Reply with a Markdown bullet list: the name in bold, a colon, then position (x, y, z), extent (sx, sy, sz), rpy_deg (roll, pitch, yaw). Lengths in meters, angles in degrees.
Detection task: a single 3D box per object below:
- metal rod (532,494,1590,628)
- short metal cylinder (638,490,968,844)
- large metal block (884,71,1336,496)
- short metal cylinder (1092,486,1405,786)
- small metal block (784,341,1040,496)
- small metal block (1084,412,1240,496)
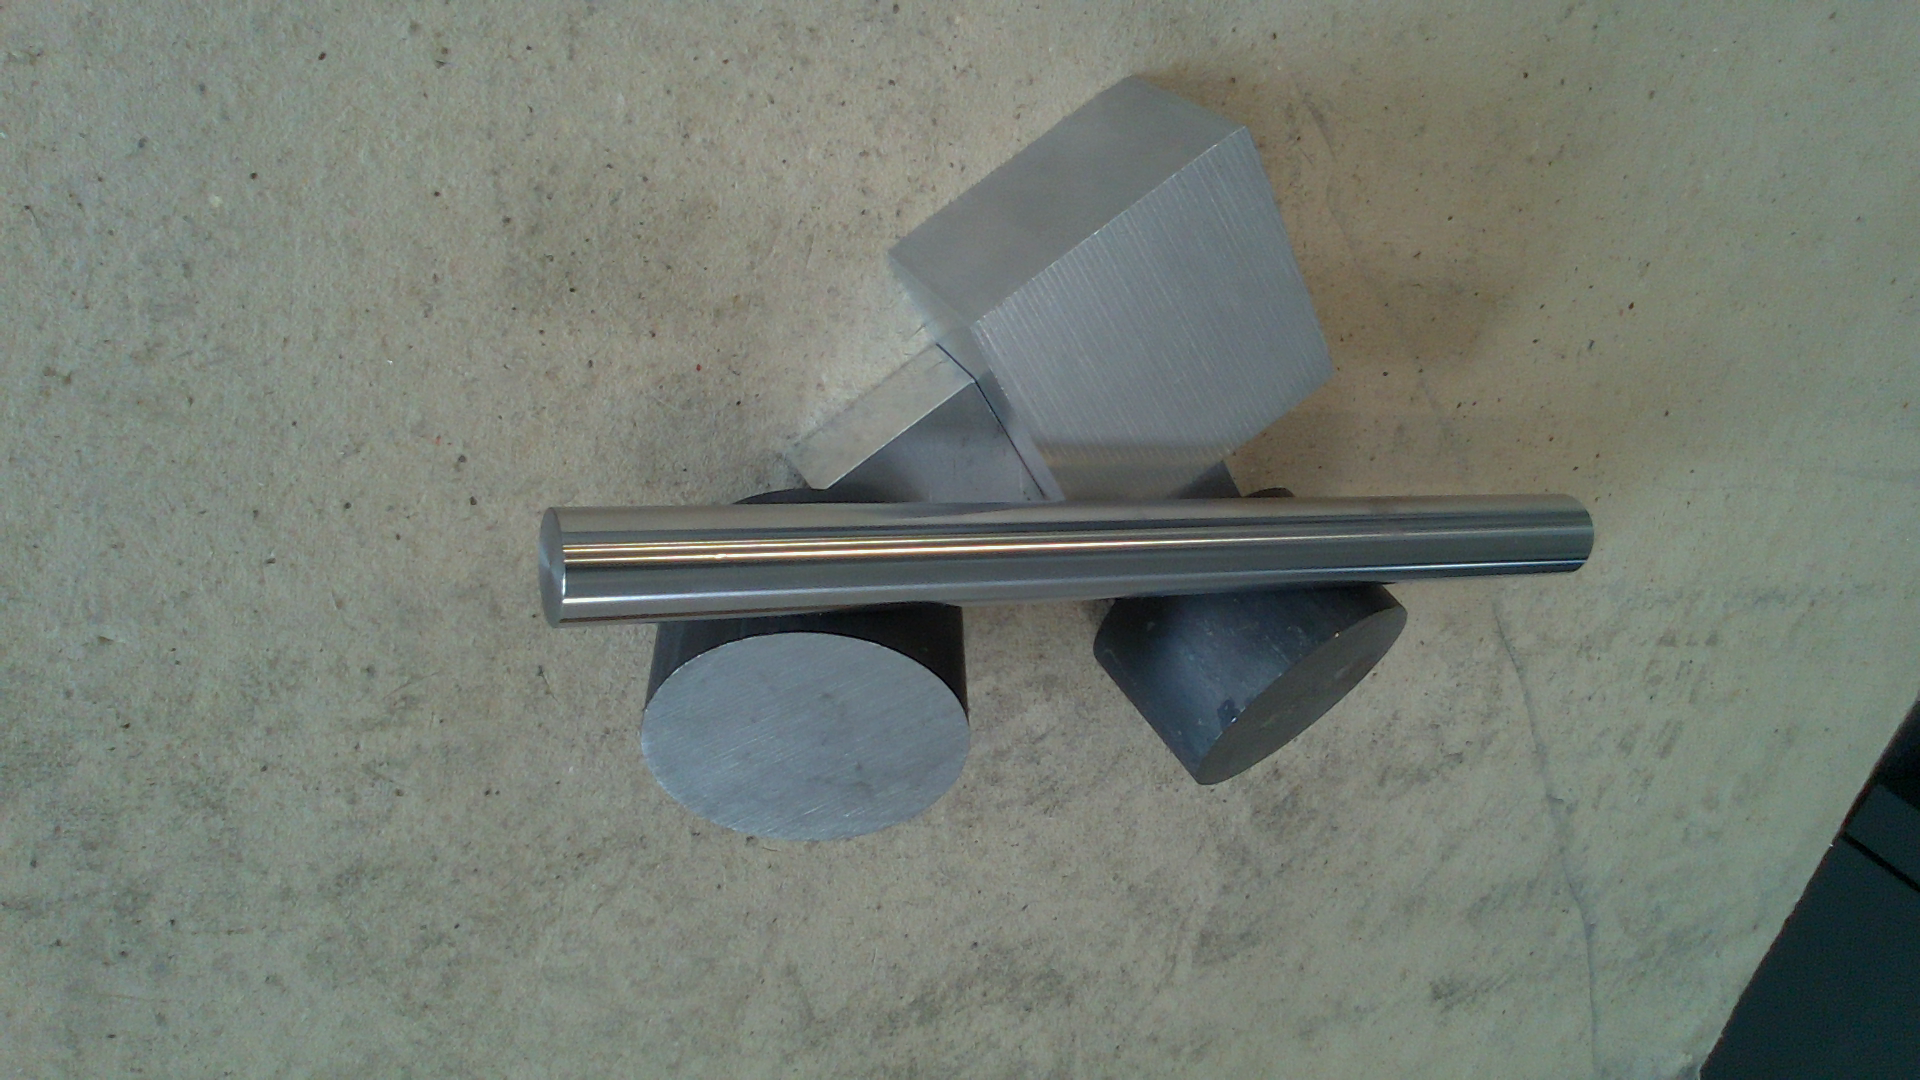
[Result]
- **metal rod**: position (0.048, 0.002, 0.350), extent (0.301, 0.025, 0.025), rpy_deg (-2, 119, -28)
- **short metal cylinder**: position (-0.039, 0.034, 0.354), extent (0.080, 0.050, 0.080), rpy_deg (-2, 133, -2)
- **large metal block**: position (0.040, -0.059, 0.356), extent (0.080, 0.050, 0.080), rpy_deg (-36, 129, -4)
- **short metal cylinder**: position (0.088, 0.030, 0.421), extent (0.080, 0.050, 0.080), rpy_deg (-31, 153, -17)
- **small metal block**: position (-0.011, -0.016, 0.374), extent (0.050, 0.025, 0.050), rpy_deg (-38, 129, -4)
- **small metal block**: position (0.053, -0.015, 0.408), extent (0.050, 0.025, 0.050), rpy_deg (-37, 129, -3)
